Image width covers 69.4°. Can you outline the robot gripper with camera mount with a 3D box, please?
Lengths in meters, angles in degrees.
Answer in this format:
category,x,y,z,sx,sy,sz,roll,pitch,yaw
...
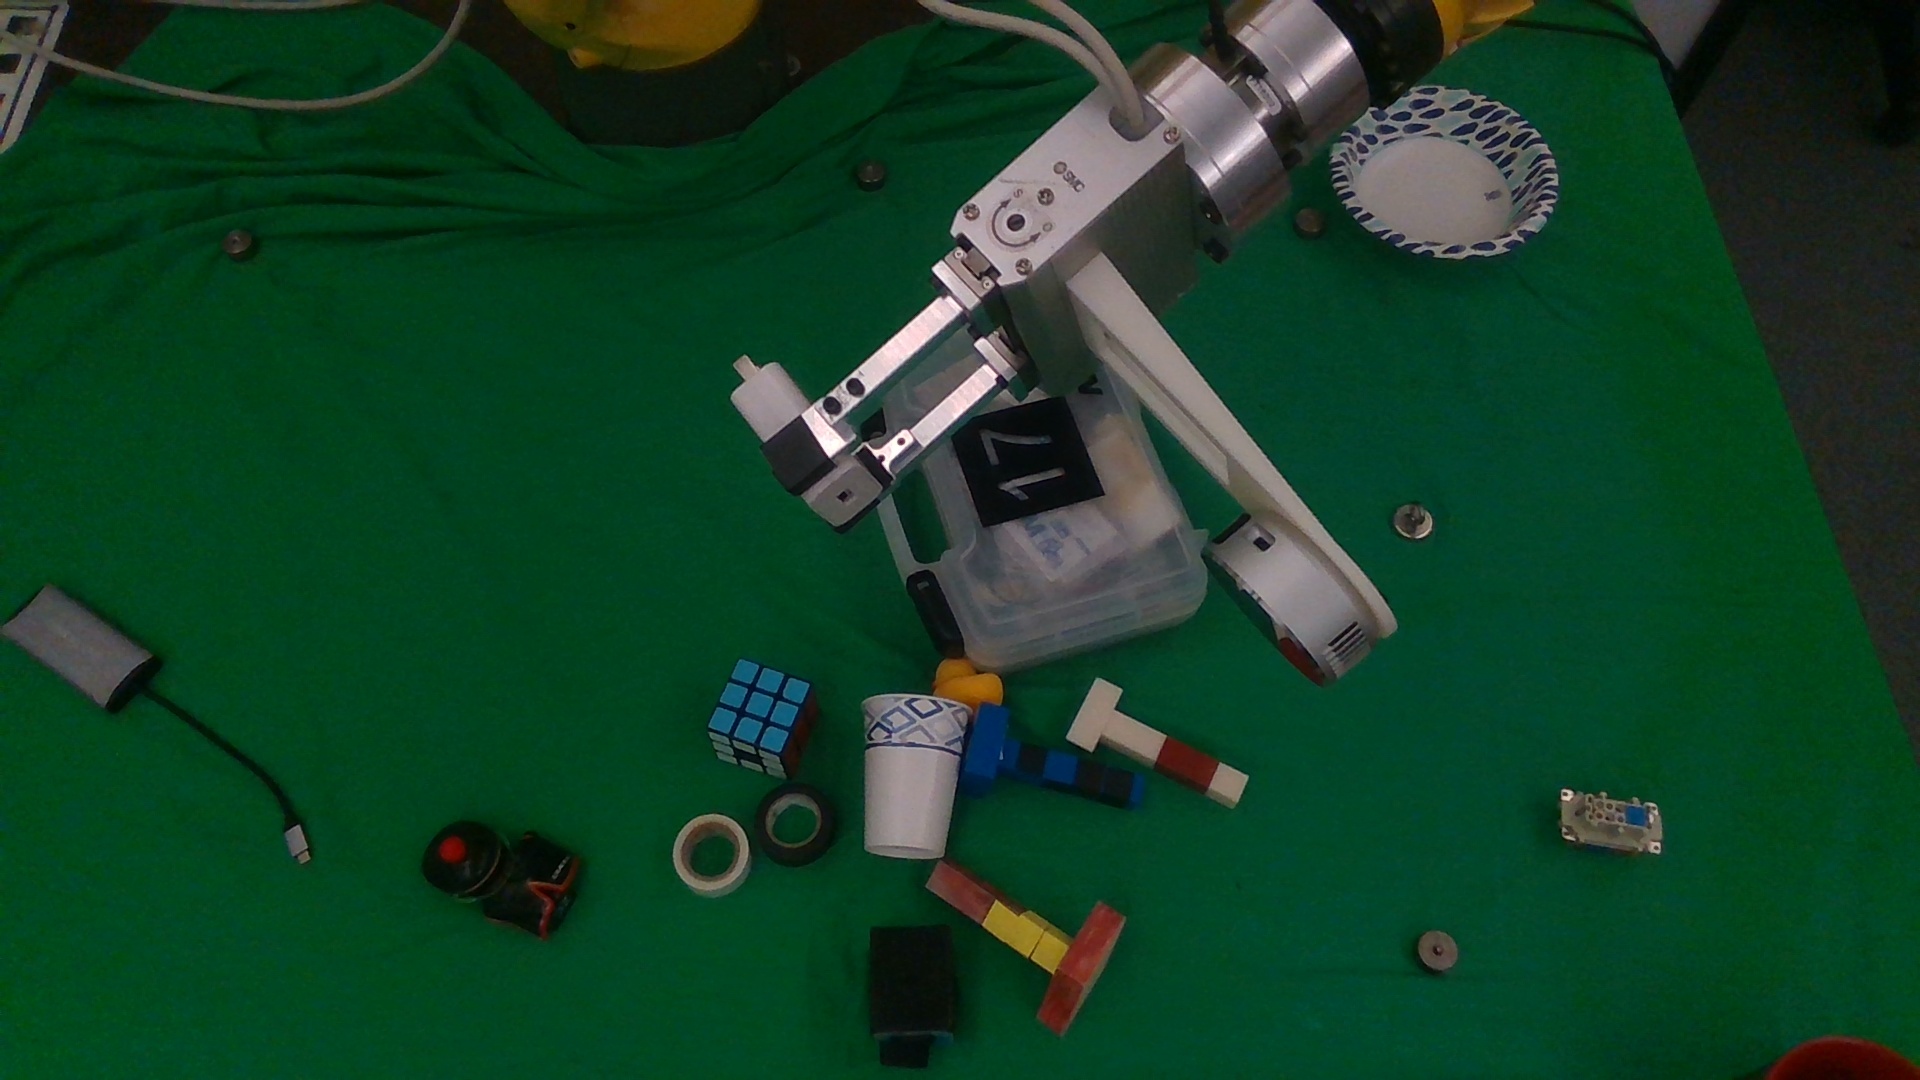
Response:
category,x,y,z,sx,sy,sz,roll,pitch,yaw
robot gripper with camera mount,0.053,-0.010,0.513,0.158,0.119,0.193,-42,74,0

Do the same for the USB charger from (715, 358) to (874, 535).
category,x,y,z,sx,sy,sz,roll,pitch,yaw
USB charger,-0.067,-0.039,0.530,0.029,0.044,0.076,-42,75,1
